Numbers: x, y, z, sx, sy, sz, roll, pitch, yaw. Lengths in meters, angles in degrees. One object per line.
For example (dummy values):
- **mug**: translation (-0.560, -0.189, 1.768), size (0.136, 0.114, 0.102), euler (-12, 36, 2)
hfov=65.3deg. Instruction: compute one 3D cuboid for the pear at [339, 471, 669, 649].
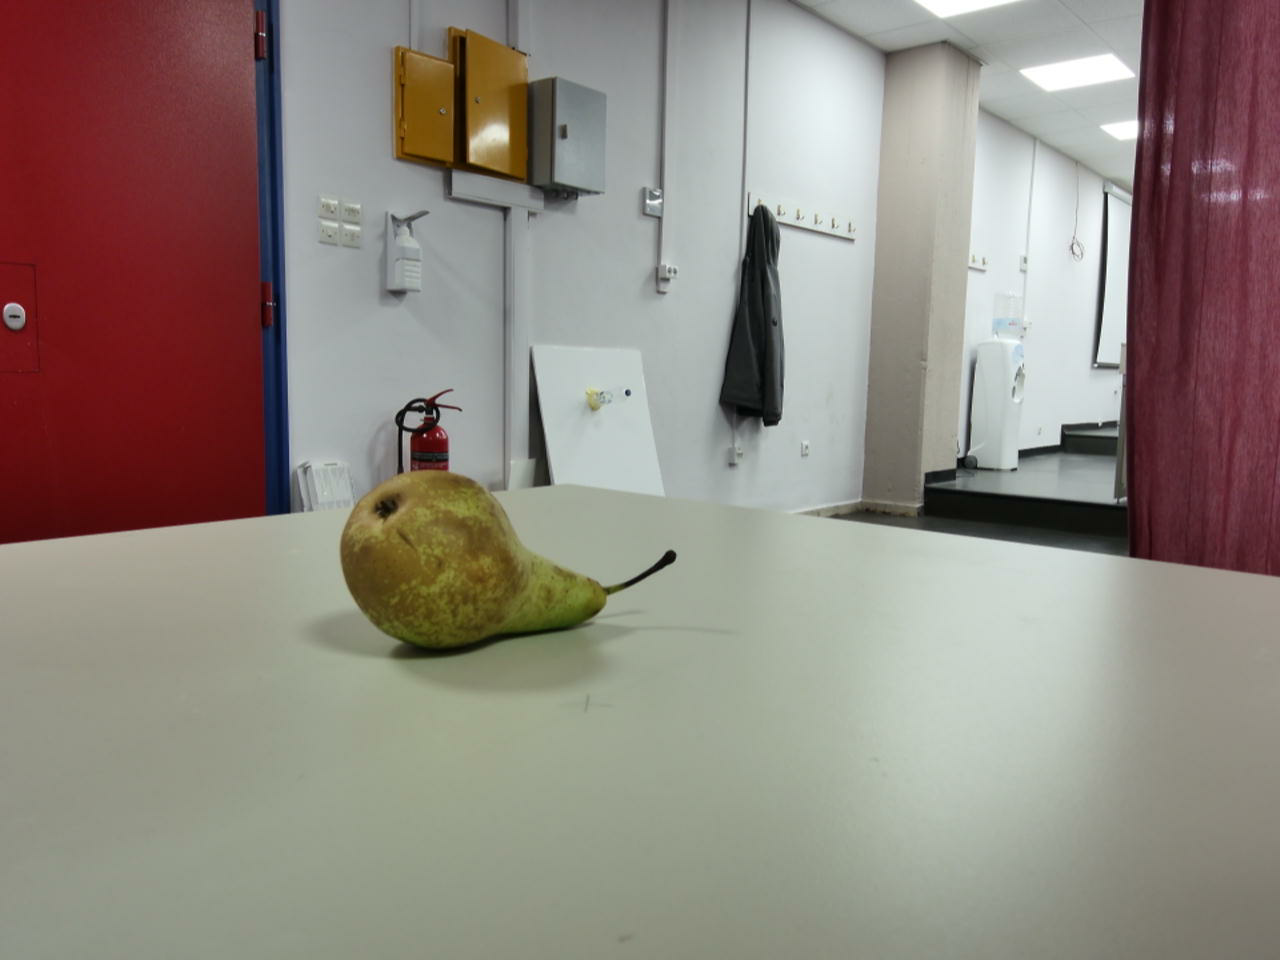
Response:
- **pear**: translation (-0.061, 0.032, 0.444), size (0.144, 0.075, 0.072), euler (-4, 6, -42)
